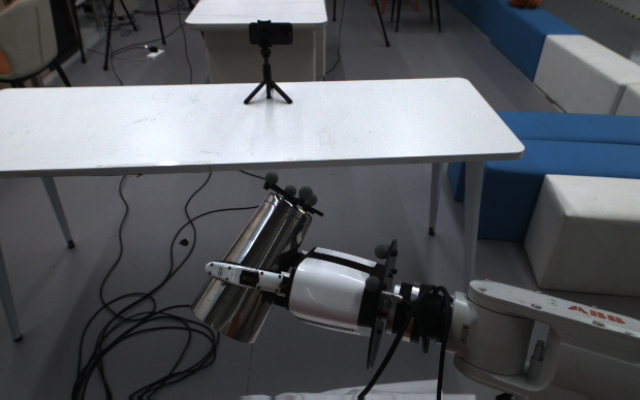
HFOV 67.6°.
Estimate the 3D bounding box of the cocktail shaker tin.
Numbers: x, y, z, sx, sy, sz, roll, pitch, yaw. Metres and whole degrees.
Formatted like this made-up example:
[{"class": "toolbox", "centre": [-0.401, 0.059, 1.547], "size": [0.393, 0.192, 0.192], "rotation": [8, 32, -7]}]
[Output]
[{"class": "cocktail shaker tin", "centre": [-0.079, 0.077, 0.609], "size": [0.093, 0.093, 0.170], "rotation": [27, 84, 31]}]
